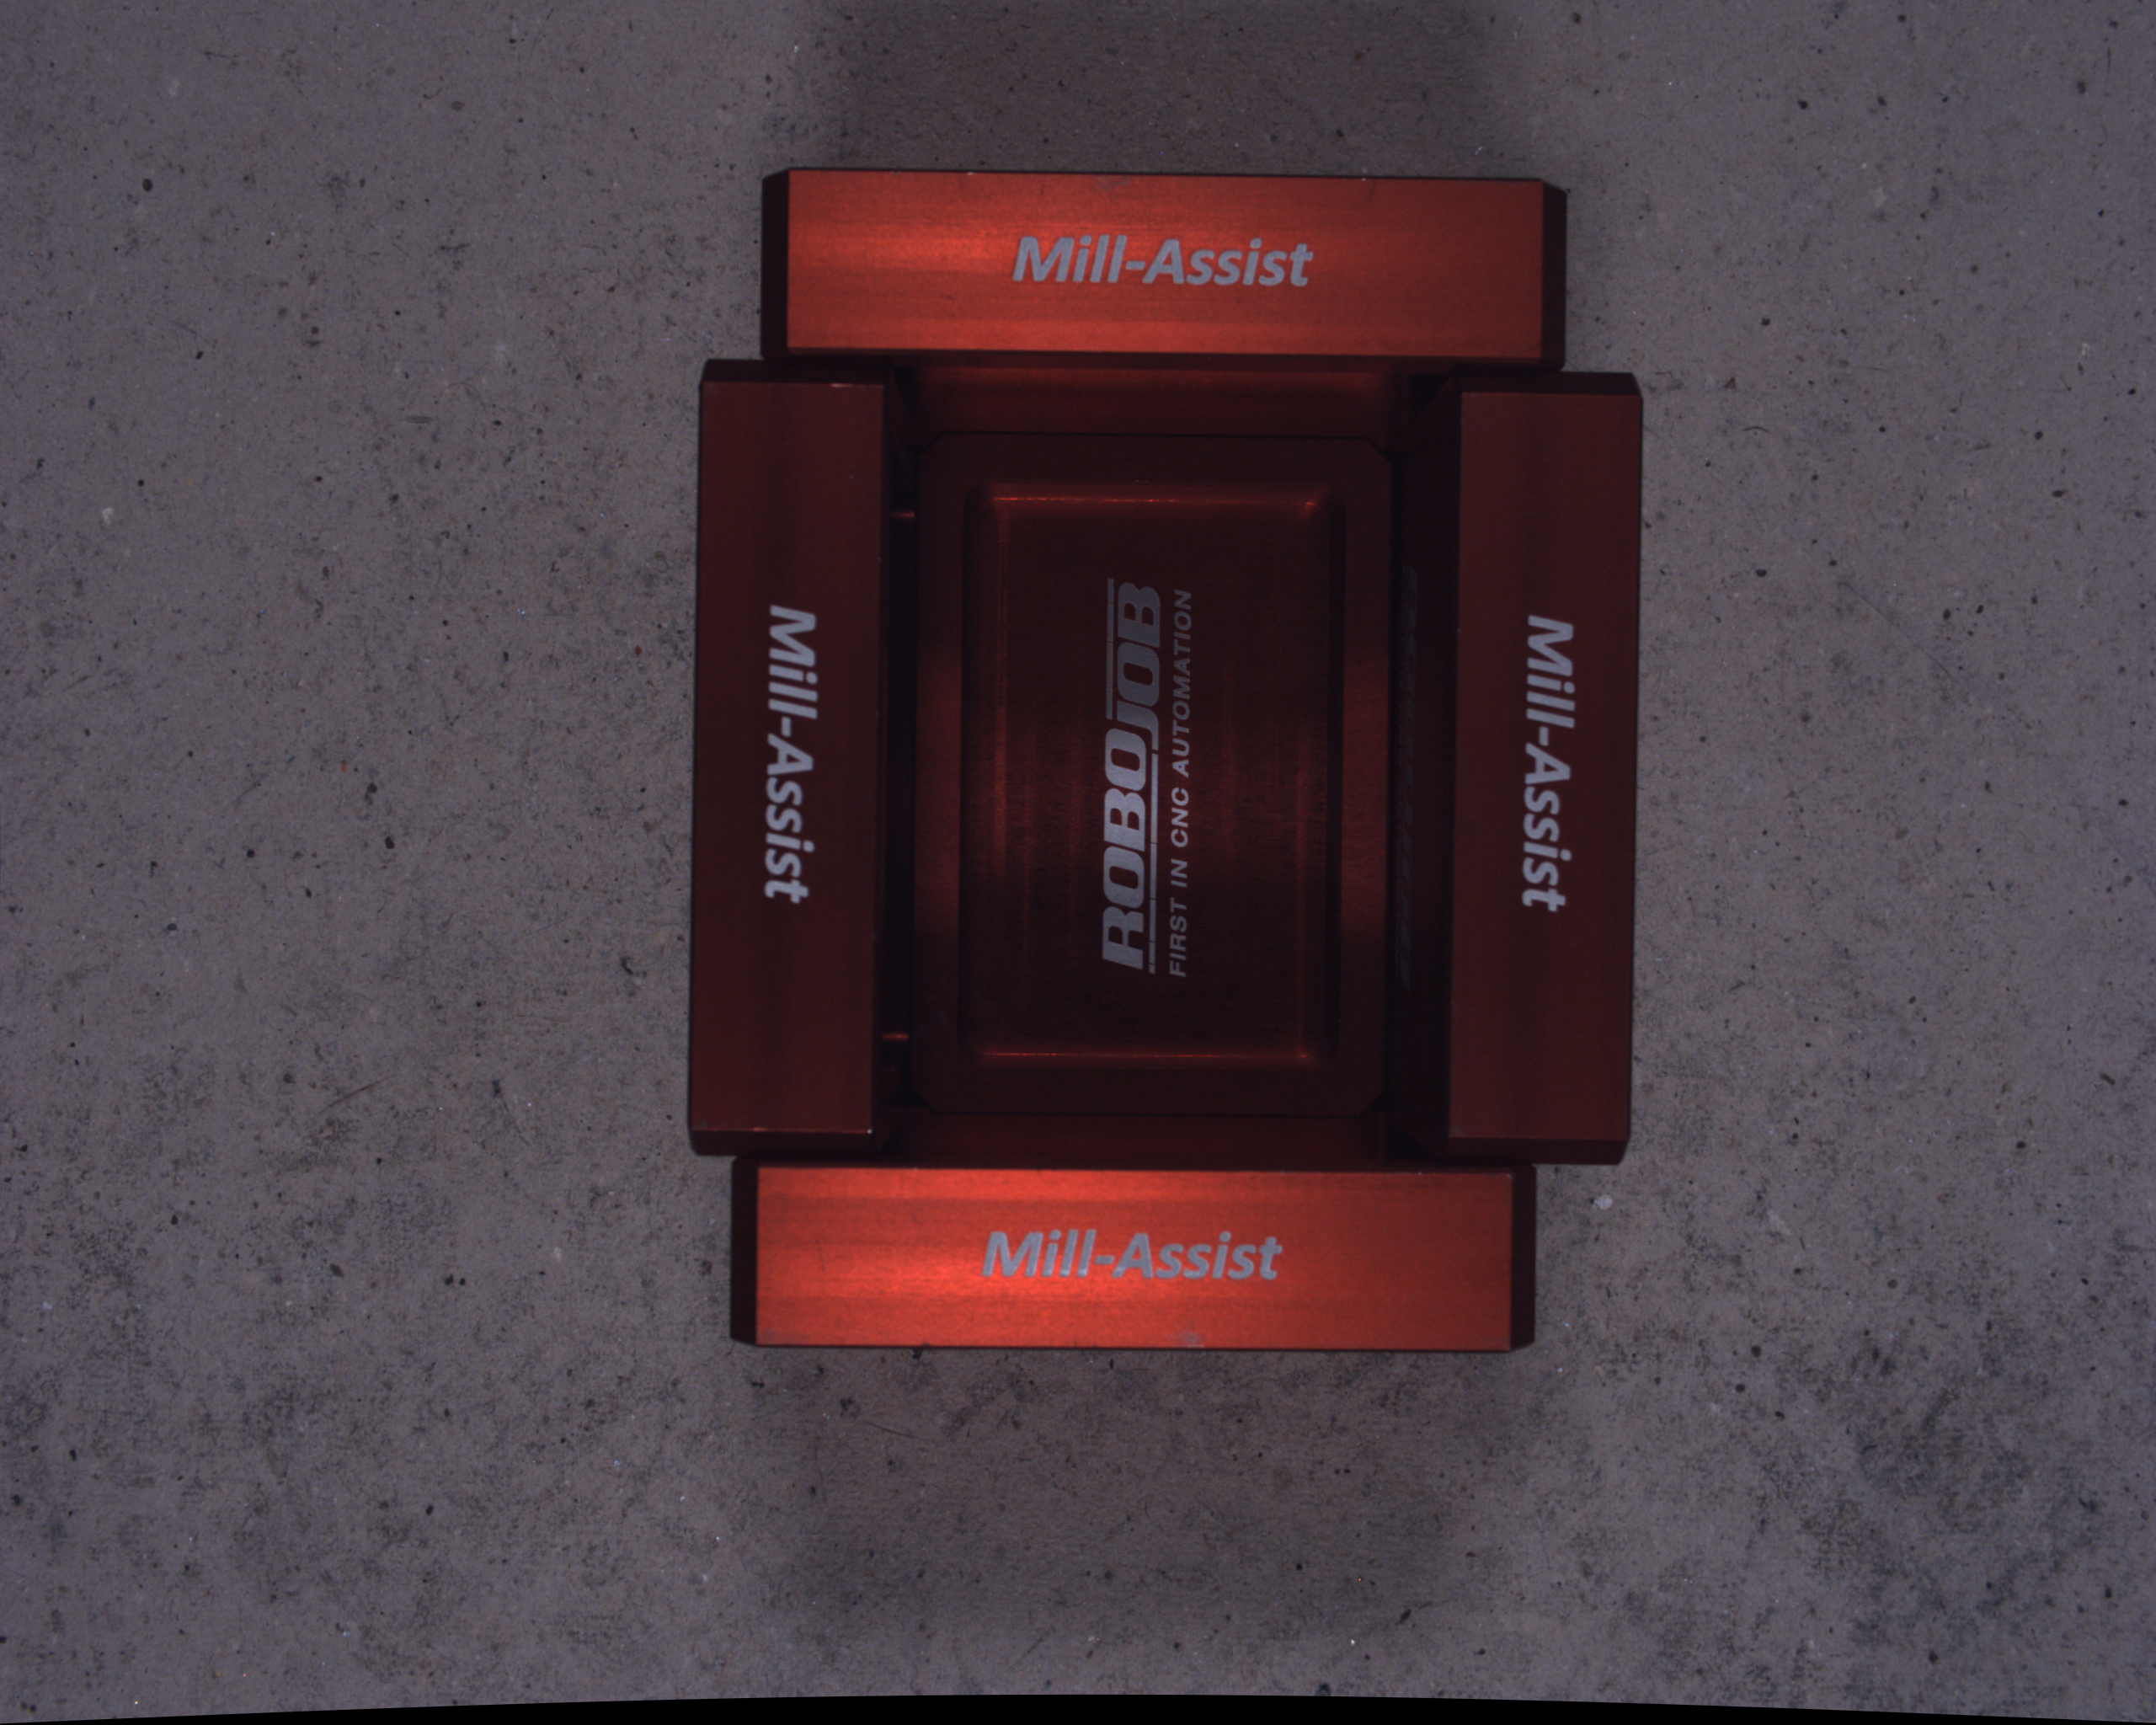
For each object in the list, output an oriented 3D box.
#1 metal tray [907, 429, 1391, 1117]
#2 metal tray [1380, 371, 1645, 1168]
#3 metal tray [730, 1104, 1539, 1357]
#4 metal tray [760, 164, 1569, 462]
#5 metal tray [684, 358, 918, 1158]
[{"bbox_3d":[0.013,-0.017,0.409,0.091,0.030,0.129,1,90,-1],"label":"metal tray"},{"bbox_3d":[0.075,-0.015,0.379,0.030,0.090,0.129,1,90,0],"label":"metal tray"},{"bbox_3d":[0.009,0.063,0.378,0.131,0.090,0.030,1,90,-1],"label":"metal tray"},{"bbox_3d":[0.014,-0.096,0.378,0.131,0.090,0.030,1,90,-1],"label":"metal tray"},{"bbox_3d":[-0.047,-0.017,0.377,0.030,0.090,0.129,1,90,0],"label":"metal tray"}]
